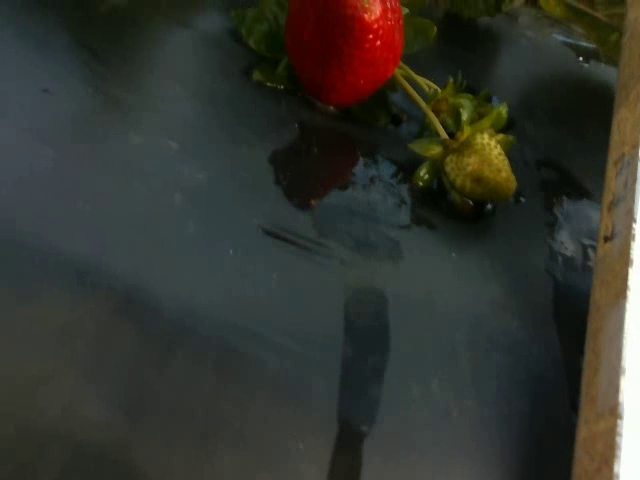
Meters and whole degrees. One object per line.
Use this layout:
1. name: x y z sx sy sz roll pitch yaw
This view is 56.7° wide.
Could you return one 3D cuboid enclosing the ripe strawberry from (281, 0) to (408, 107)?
1. ripe strawberry: 0.012 -0.069 0.189 0.043 0.052 0.057 -6 4 -3
